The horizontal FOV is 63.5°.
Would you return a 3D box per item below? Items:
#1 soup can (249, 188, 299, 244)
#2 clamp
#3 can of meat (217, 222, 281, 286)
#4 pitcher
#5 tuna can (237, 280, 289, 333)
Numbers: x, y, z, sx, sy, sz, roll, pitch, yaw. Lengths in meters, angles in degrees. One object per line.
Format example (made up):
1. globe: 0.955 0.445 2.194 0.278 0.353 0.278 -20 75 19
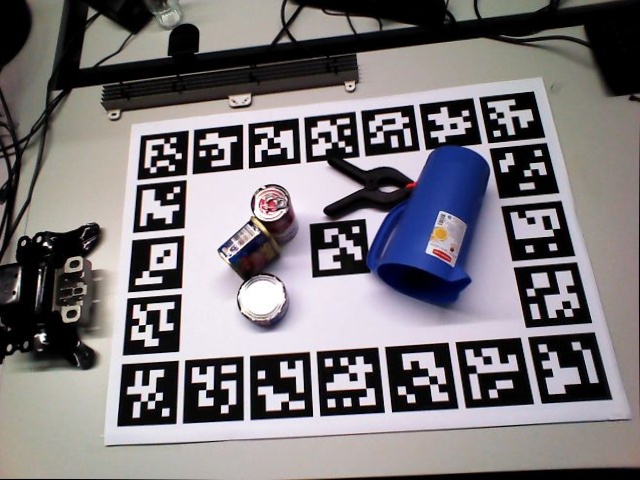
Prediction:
1. soup can: -0.078 -0.039 0.902 0.068 0.102 0.067 -3 71 8
2. clamp: 0.080 -0.091 0.946 0.165 0.037 0.121 -2 65 3
3. can of meat: -0.122 0.027 0.877 0.083 0.102 0.058 -40 71 -5
4. pitcher: 0.190 -0.019 0.839 0.190 0.133 0.241 7 61 33
5. tuna can: -0.096 0.114 0.881 0.086 0.034 0.085 -2 71 6
